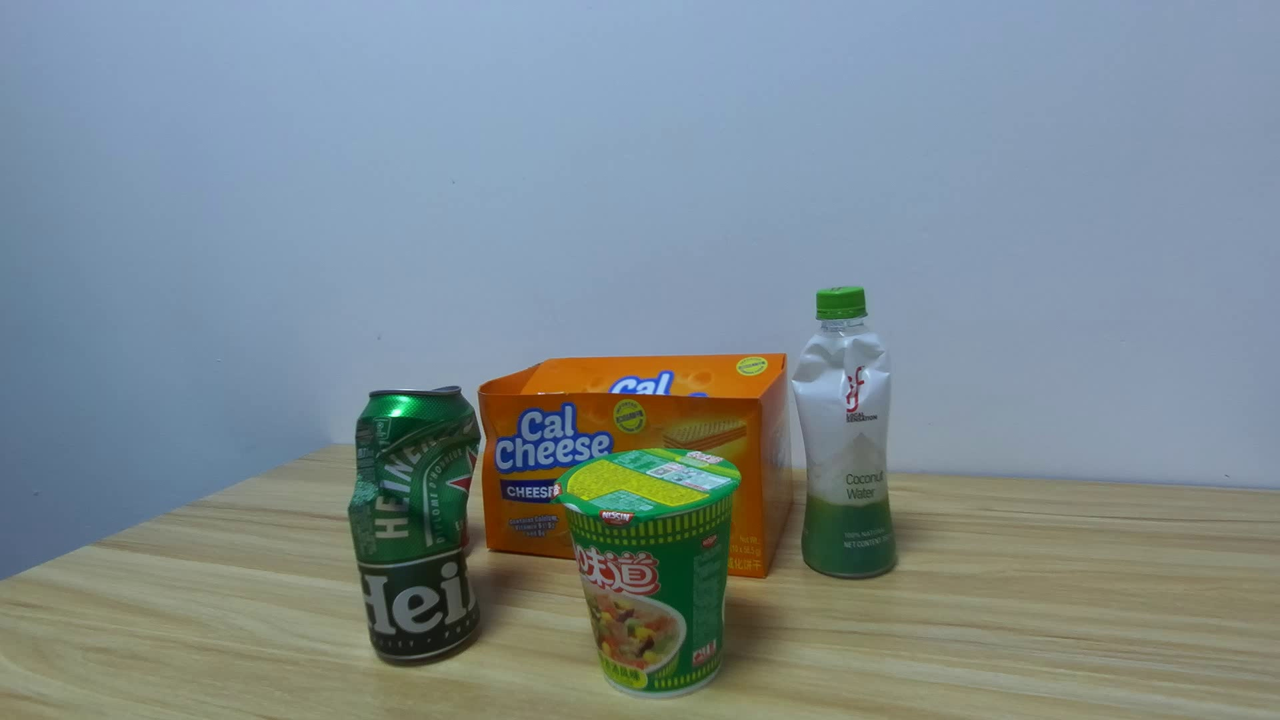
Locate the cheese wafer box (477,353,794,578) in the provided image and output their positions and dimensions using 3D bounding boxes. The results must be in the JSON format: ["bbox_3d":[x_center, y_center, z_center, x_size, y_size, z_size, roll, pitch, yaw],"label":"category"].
[{"bbox_3d":[-0.002,0.074,0.561,0.230,0.132,0.152,0,13,20],"label":"cheese wafer box"}]

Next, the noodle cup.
[{"bbox_3d":[0.007,0.114,0.382,0.097,0.110,0.097,-4,13,1],"label":"noodle cup"}]

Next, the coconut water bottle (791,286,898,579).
[{"bbox_3d":[0.135,0.047,0.470,0.069,0.186,0.069,-6,11,1],"label":"coconut water bottle"}]

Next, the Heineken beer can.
[{"bbox_3d":[-0.132,0.096,0.424,0.067,0.159,0.078,-3,3,-3],"label":"Heineken beer can"}]
